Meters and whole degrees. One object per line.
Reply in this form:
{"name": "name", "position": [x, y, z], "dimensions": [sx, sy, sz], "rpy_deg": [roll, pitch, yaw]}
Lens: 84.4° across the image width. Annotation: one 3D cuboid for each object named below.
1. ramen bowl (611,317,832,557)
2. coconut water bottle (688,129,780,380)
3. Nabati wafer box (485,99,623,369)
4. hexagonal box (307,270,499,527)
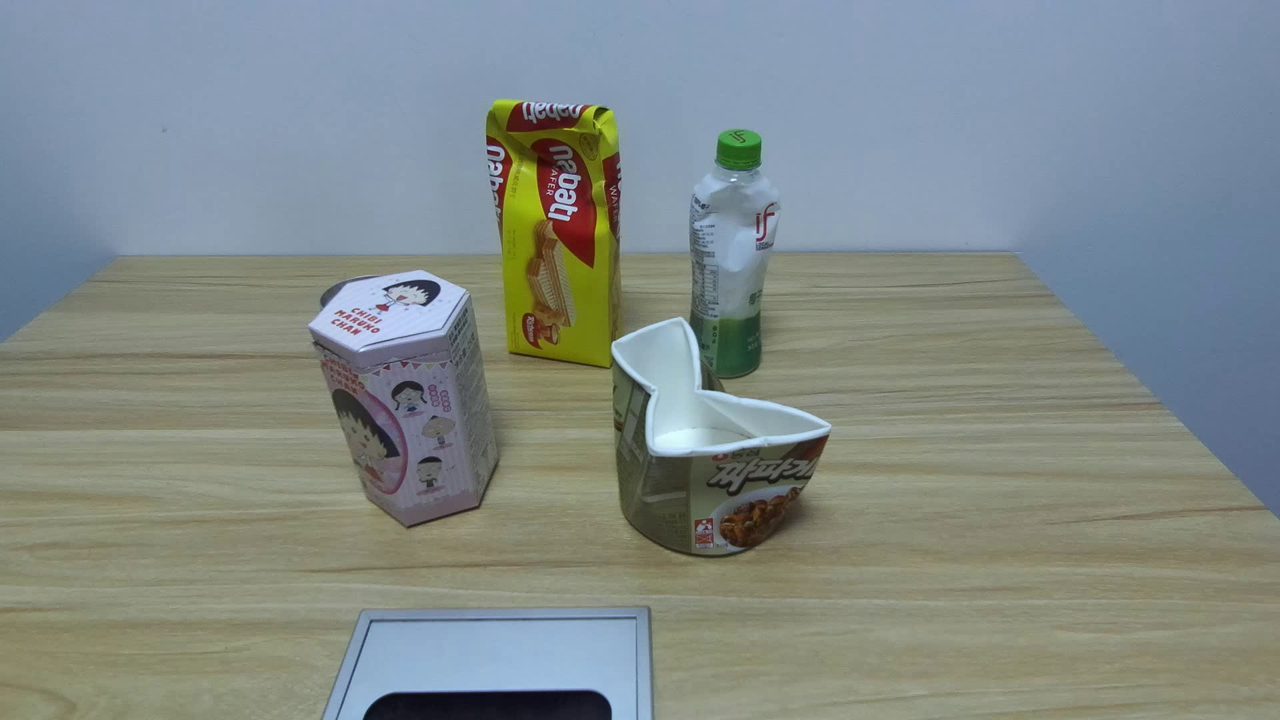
{"name": "ramen bowl", "position": [0.040, 0.045, 0.444], "dimensions": [0.112, 0.093, 0.128], "rpy_deg": [-9, 37, -11]}
{"name": "coconut water bottle", "position": [0.069, -0.078, 0.536], "dimensions": [0.069, 0.187, 0.069], "rpy_deg": [1, 34, 0]}
{"name": "Nabati wafer box", "position": [-0.064, -0.093, 0.549], "dimensions": [0.113, 0.205, 0.042], "rpy_deg": [8, 33, 14]}
{"name": "hexagonal box", "position": [-0.141, 0.025, 0.440], "dimensions": [0.091, 0.136, 0.084], "rpy_deg": [23, 41, 29]}
